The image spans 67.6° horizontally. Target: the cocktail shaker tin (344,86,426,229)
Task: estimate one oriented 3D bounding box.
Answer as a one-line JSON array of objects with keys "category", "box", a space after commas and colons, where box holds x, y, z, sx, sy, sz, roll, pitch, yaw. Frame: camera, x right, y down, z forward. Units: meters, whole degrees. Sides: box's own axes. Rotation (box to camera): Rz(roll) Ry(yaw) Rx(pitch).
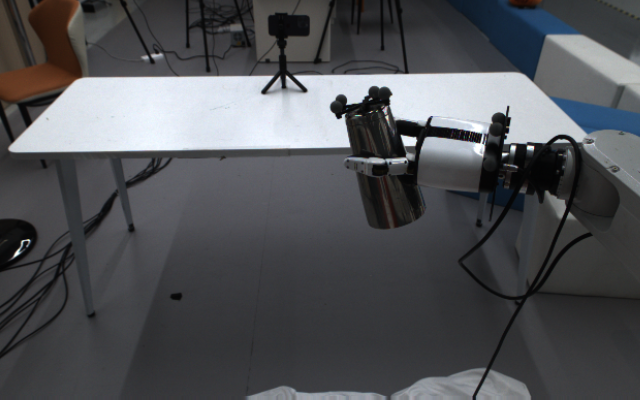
[{"category": "cocktail shaker tin", "box": [0.092, -0.054, 0.715, 0.093, 0.170, 0.093, -17, 20, 7]}]
